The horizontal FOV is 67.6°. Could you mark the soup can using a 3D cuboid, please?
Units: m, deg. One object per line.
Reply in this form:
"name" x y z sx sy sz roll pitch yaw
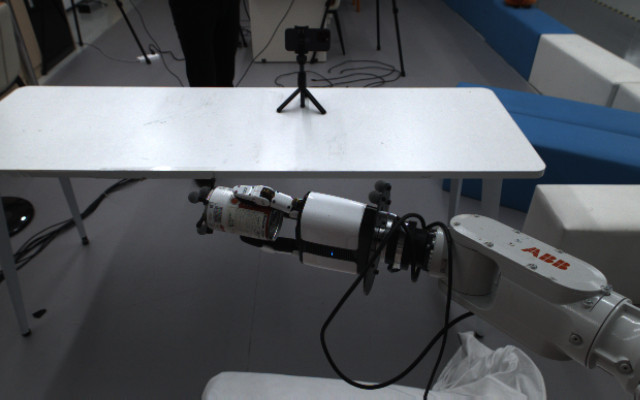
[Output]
"soup can" -0.110 0.021 0.718 0.101 0.067 0.067 11 36 10
